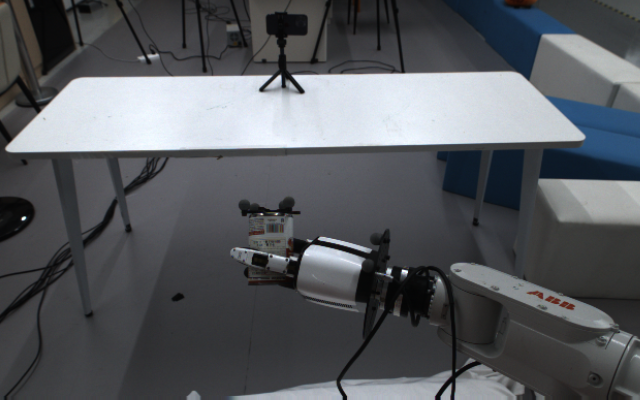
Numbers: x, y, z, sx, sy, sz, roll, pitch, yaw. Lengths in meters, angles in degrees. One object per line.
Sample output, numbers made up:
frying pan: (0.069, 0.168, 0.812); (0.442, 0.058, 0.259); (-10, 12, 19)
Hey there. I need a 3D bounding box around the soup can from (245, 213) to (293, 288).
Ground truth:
soup can: (-0.071, 0.074, 0.706); (0.067, 0.101, 0.067); (-1, -9, 0)
